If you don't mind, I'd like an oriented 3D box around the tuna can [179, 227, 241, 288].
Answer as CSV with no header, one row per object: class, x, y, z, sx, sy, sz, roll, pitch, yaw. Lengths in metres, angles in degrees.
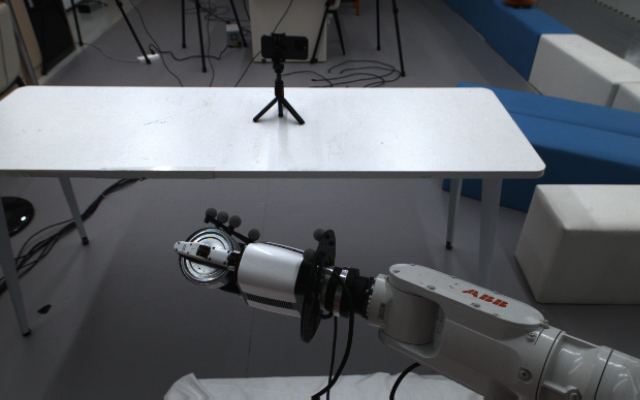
tuna can,-0.157,0.085,0.704,0.085,0.034,0.085,-4,67,10
